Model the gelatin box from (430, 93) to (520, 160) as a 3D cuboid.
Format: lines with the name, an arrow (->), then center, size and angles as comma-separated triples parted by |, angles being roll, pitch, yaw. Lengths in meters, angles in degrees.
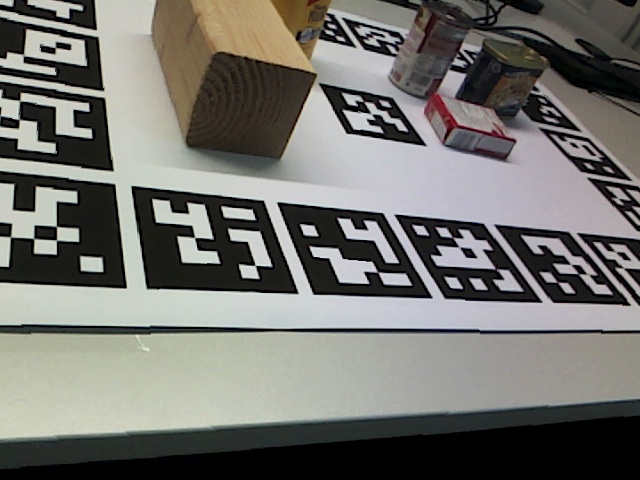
gelatin box -> 0.182, -0.134, 0.729 | 0.089, 0.030, 0.073 | 9, 41, -17

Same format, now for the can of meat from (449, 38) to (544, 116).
can of meat -> 0.229, -0.210, 0.813 | 0.101, 0.084, 0.058 | -6, 47, -39

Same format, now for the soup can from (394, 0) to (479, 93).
soup can -> 0.143, -0.244, 0.774 | 0.067, 0.102, 0.068 | 16, 39, -13

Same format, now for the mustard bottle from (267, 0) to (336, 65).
mustard bottle -> -0.016, -0.273, 0.664 | 0.059, 0.191, 0.095 | 44, 39, 24

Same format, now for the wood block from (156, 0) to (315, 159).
wood block -> -0.088, -0.173, 0.576 | 0.090, 0.090, 0.207 | 6, 37, -27
